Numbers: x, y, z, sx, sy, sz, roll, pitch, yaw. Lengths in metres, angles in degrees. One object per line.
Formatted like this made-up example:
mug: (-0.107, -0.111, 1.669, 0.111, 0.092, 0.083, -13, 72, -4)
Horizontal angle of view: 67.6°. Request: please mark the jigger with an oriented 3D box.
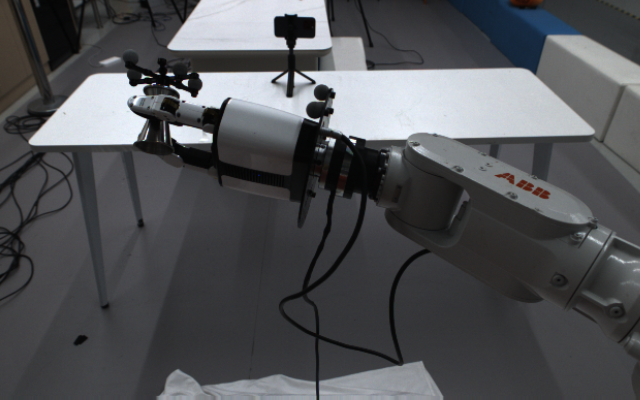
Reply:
jigger: (-0.183, -0.090, 0.545, 0.043, 0.043, 0.071, 3, 76, 1)
